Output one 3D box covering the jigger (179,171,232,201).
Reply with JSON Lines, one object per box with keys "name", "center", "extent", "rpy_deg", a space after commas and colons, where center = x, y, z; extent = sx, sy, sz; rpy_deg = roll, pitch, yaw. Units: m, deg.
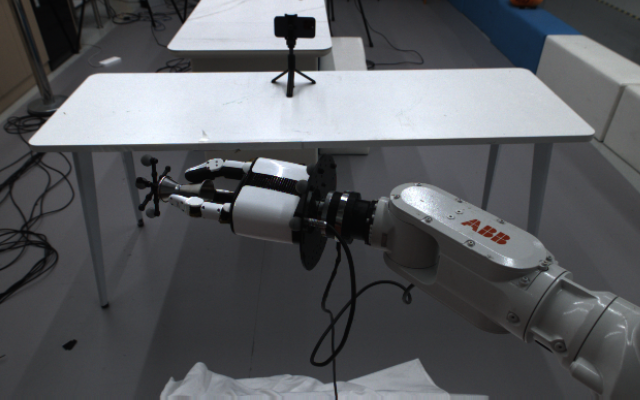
{"name": "jigger", "center": [-0.187, -0.015, 0.700], "extent": [0.071, 0.043, 0.043], "rpy_deg": [7, 35, 14]}
